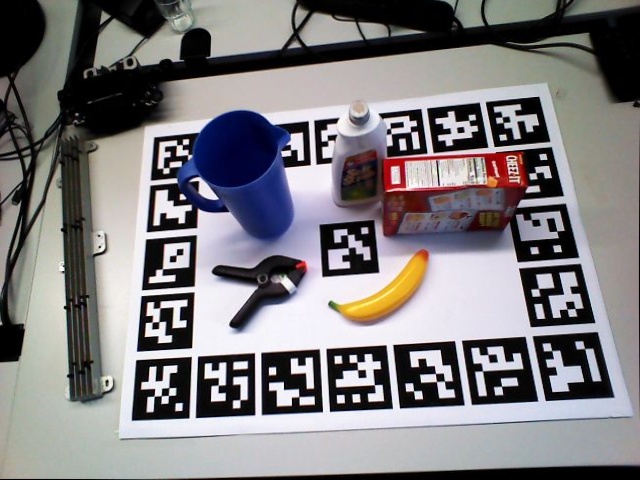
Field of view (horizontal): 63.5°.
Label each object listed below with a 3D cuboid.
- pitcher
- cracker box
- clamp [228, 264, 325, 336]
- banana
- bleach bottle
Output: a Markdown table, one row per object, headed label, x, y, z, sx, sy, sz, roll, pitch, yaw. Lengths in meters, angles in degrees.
| label | x | y | z | sx | sy | sz | roll | pitch | yaw |
| --- | --- | --- | --- | --- | --- | --- | --- | --- | --- |
| pitcher | -0.099 | -0.081 | 0.849 | 0.189 | 0.243 | 0.133 | -21 | 65 | -6 |
| cracker box | 0.247 | -0.061 | 0.849 | 0.214 | 0.164 | 0.071 | -4 | 63 | 7 |
| clamp | -0.069 | 0.088 | 0.908 | 0.165 | 0.037 | 0.121 | -20 | 65 | -4 |
| banana | 0.152 | 0.093 | 0.887 | 0.197 | 0.039 | 0.074 | -36 | 67 | -9 |
| bleach bottle | 0.087 | -0.127 | 0.866 | 0.103 | 0.251 | 0.067 | -5 | 65 | 5 |
